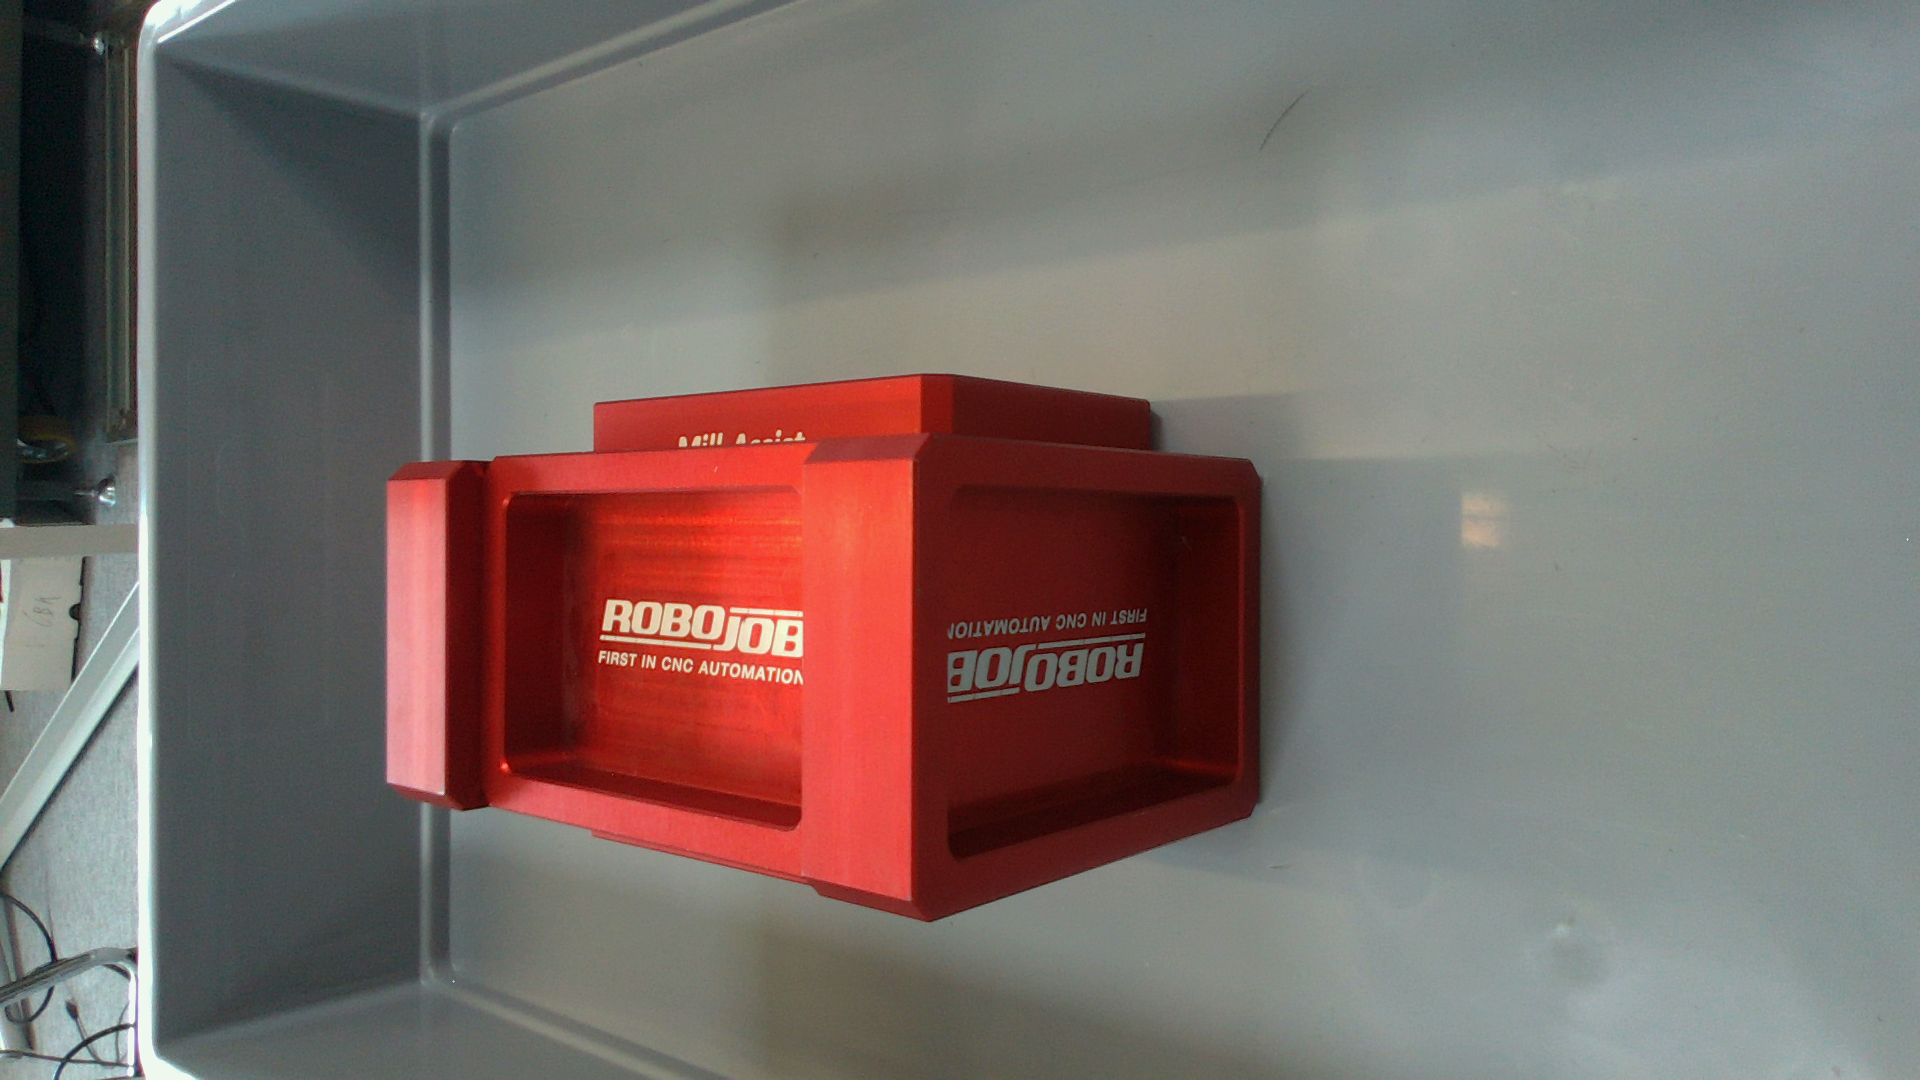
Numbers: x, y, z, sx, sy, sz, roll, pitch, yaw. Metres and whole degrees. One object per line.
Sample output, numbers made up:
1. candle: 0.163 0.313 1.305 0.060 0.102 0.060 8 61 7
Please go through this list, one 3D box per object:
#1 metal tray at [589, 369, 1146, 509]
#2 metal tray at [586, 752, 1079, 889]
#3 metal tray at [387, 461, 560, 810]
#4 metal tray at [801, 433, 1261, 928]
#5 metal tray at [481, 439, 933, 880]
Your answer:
1. metal tray: -0.027 -0.023 0.371 0.129 0.090 0.030 0 91 41
2. metal tray: -0.027 0.067 0.372 0.129 0.090 0.030 0 90 40
3. metal tray: -0.101 0.024 0.409 0.030 0.131 0.090 1 91 40
4. metal tray: 0.022 0.025 0.305 0.030 0.131 0.090 1 91 40
5. metal tray: -0.065 0.024 0.326 0.129 0.030 0.090 1 90 40
